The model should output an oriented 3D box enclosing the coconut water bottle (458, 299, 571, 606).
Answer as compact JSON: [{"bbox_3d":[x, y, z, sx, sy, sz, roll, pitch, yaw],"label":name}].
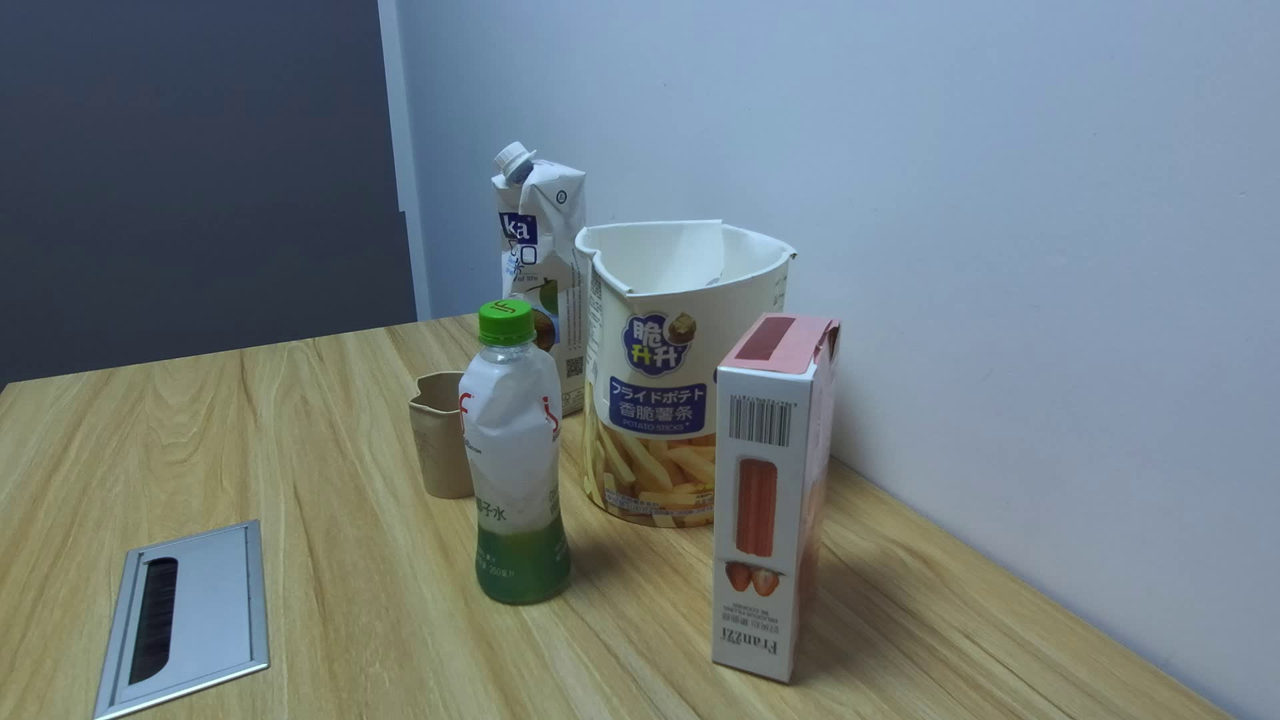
[{"bbox_3d":[-0.077,0.058,0.436,0.069,0.186,0.069,-1,23,1],"label":"coconut water bottle"}]

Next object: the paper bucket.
[{"bbox_3d":[0.028,0.005,0.546,0.146,0.197,0.202,-6,23,-16],"label":"paper bucket"}]

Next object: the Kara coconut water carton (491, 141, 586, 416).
[{"bbox_3d":[-0.093,-0.073,0.662,0.079,0.255,0.083,-16,28,-30],"label":"Kara coconut water carton"}]

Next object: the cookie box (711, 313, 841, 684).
[{"bbox_3d":[0.078,0.071,0.399,0.048,0.187,0.105,8,24,21],"label":"cookie box"}]
